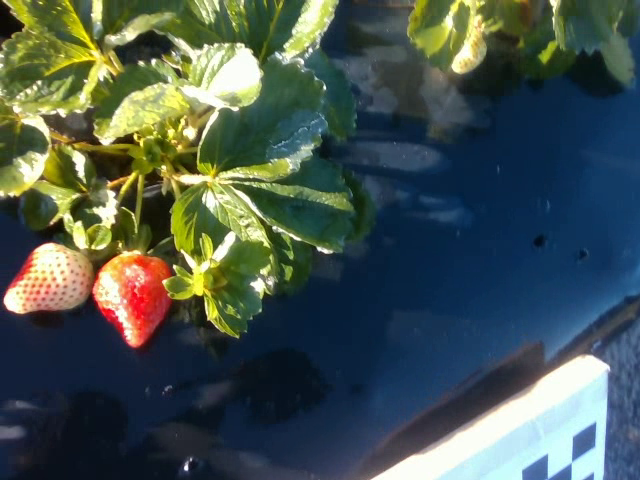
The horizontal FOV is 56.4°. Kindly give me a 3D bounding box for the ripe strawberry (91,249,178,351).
[{"bbox_3d":[-0.085,0.030,0.273,0.040,0.038,0.056,-24,36,10],"label":"ripe strawberry"}]
